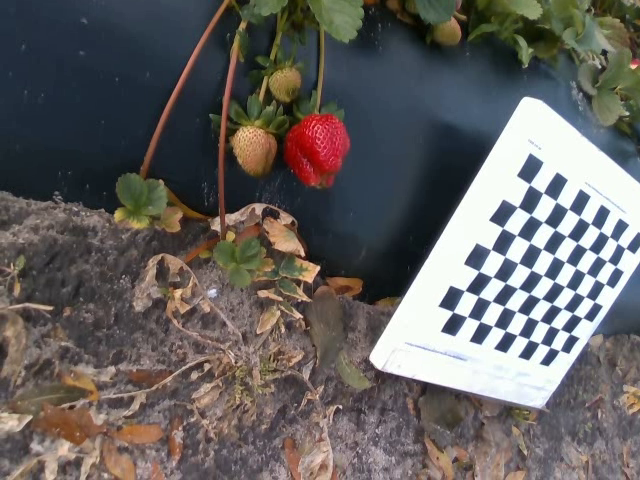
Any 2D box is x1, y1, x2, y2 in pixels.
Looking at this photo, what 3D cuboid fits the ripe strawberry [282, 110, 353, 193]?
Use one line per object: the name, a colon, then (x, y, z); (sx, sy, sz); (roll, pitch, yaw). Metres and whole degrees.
ripe strawberry: (0.004, -0.070, 0.449); (0.066, 0.075, 0.052); (0, 24, -31)
